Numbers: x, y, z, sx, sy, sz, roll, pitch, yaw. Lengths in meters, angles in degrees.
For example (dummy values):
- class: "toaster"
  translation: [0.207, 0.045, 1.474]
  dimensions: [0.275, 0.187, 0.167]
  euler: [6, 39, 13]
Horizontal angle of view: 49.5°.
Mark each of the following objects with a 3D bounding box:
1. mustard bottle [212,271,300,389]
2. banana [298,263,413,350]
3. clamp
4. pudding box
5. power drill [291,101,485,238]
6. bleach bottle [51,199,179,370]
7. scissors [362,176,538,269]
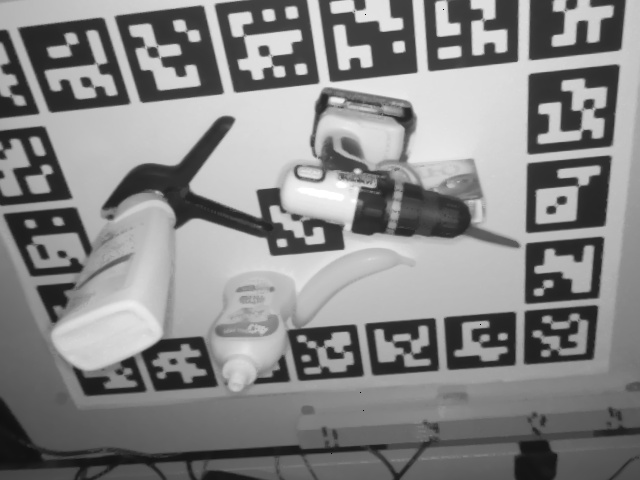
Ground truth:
- class: "mustard bottle"
  translation: [-0.083, 0.114, 0.867]
  dimensions: [0.096, 0.193, 0.058]
  euler: [9, 121, 1]
- class: "banana"
  translation: [0.030, 0.085, 0.920]
  dimensions: [0.075, 0.039, 0.195]
  euler: [32, 118, -33]
- class: "clamp"
  translation: [-0.172, -0.043, 0.848]
  dimensions: [0.202, 0.037, 0.164]
  euler: [-10, 117, 11]
- class: "pudding box"
  translation: [0.142, -0.044, 0.815]
  dimensions: [0.114, 0.091, 0.038]
  euler: [0, 127, 5]
- class: "power drill"
  translation: [0.067, -0.072, 0.713]
  dimensions: [0.185, 0.188, 0.057]
  euler: [6, 128, -3]
- class: "bleach bottle"
  translation: [-0.212, 0.027, 0.769]
  dimensions: [0.102, 0.252, 0.068]
  euler: [-24, 120, 9]
- class: "scissors"
  translation: [0.147, -0.006, 0.762]
  dimensions: [0.203, 0.016, 0.087]
  euler: [19, 116, -2]
